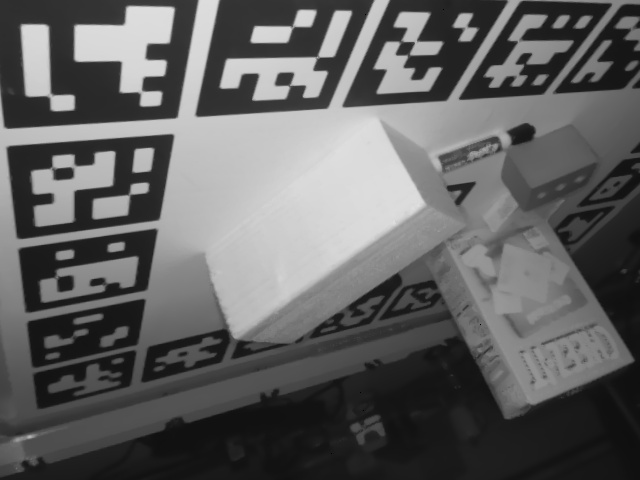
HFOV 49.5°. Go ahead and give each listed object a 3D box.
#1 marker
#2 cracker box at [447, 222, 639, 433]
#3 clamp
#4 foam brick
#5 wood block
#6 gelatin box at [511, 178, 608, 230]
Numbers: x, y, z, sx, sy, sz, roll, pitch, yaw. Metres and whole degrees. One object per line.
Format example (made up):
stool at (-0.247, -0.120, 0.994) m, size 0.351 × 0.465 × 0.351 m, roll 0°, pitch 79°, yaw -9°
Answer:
marker at (0.179, -0.103, 0.643) m, size 0.122 × 0.019 × 0.019 m, roll -21°, pitch 146°, yaw -9°
cracker box at (0.269, 0.090, 0.795) m, size 0.166 × 0.214 × 0.071 m, roll -9°, pitch 146°, yaw -21°
clamp at (0.018, 0.055, 0.741) m, size 0.203 × 0.036 × 0.165 m, roll -27°, pitch 147°, yaw 0°
foam brick at (0.258, -0.085, 0.697) m, size 0.078 × 0.051 × 0.052 m, roll -23°, pitch 146°, yaw -5°
wood block at (0.028, -0.015, 0.603) m, size 0.204 × 0.091 × 0.091 m, roll -37°, pitch 149°, yaw 22°
gelatin box at (0.270, -0.050, 0.781) m, size 0.090 × 0.030 × 0.072 m, roll -10°, pitch 143°, yaw -25°
